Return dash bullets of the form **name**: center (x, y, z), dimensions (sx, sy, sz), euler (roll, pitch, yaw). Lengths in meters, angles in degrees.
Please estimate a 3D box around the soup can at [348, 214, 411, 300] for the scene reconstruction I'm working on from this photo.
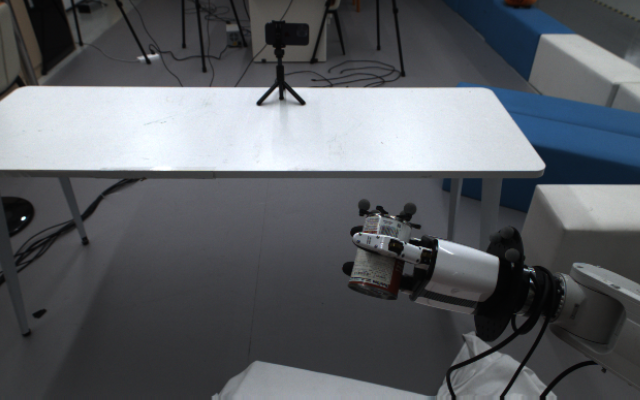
- **soup can**: center (0.085, 0.077, 0.659), dimensions (0.067, 0.067, 0.101), euler (11, 72, 13)
